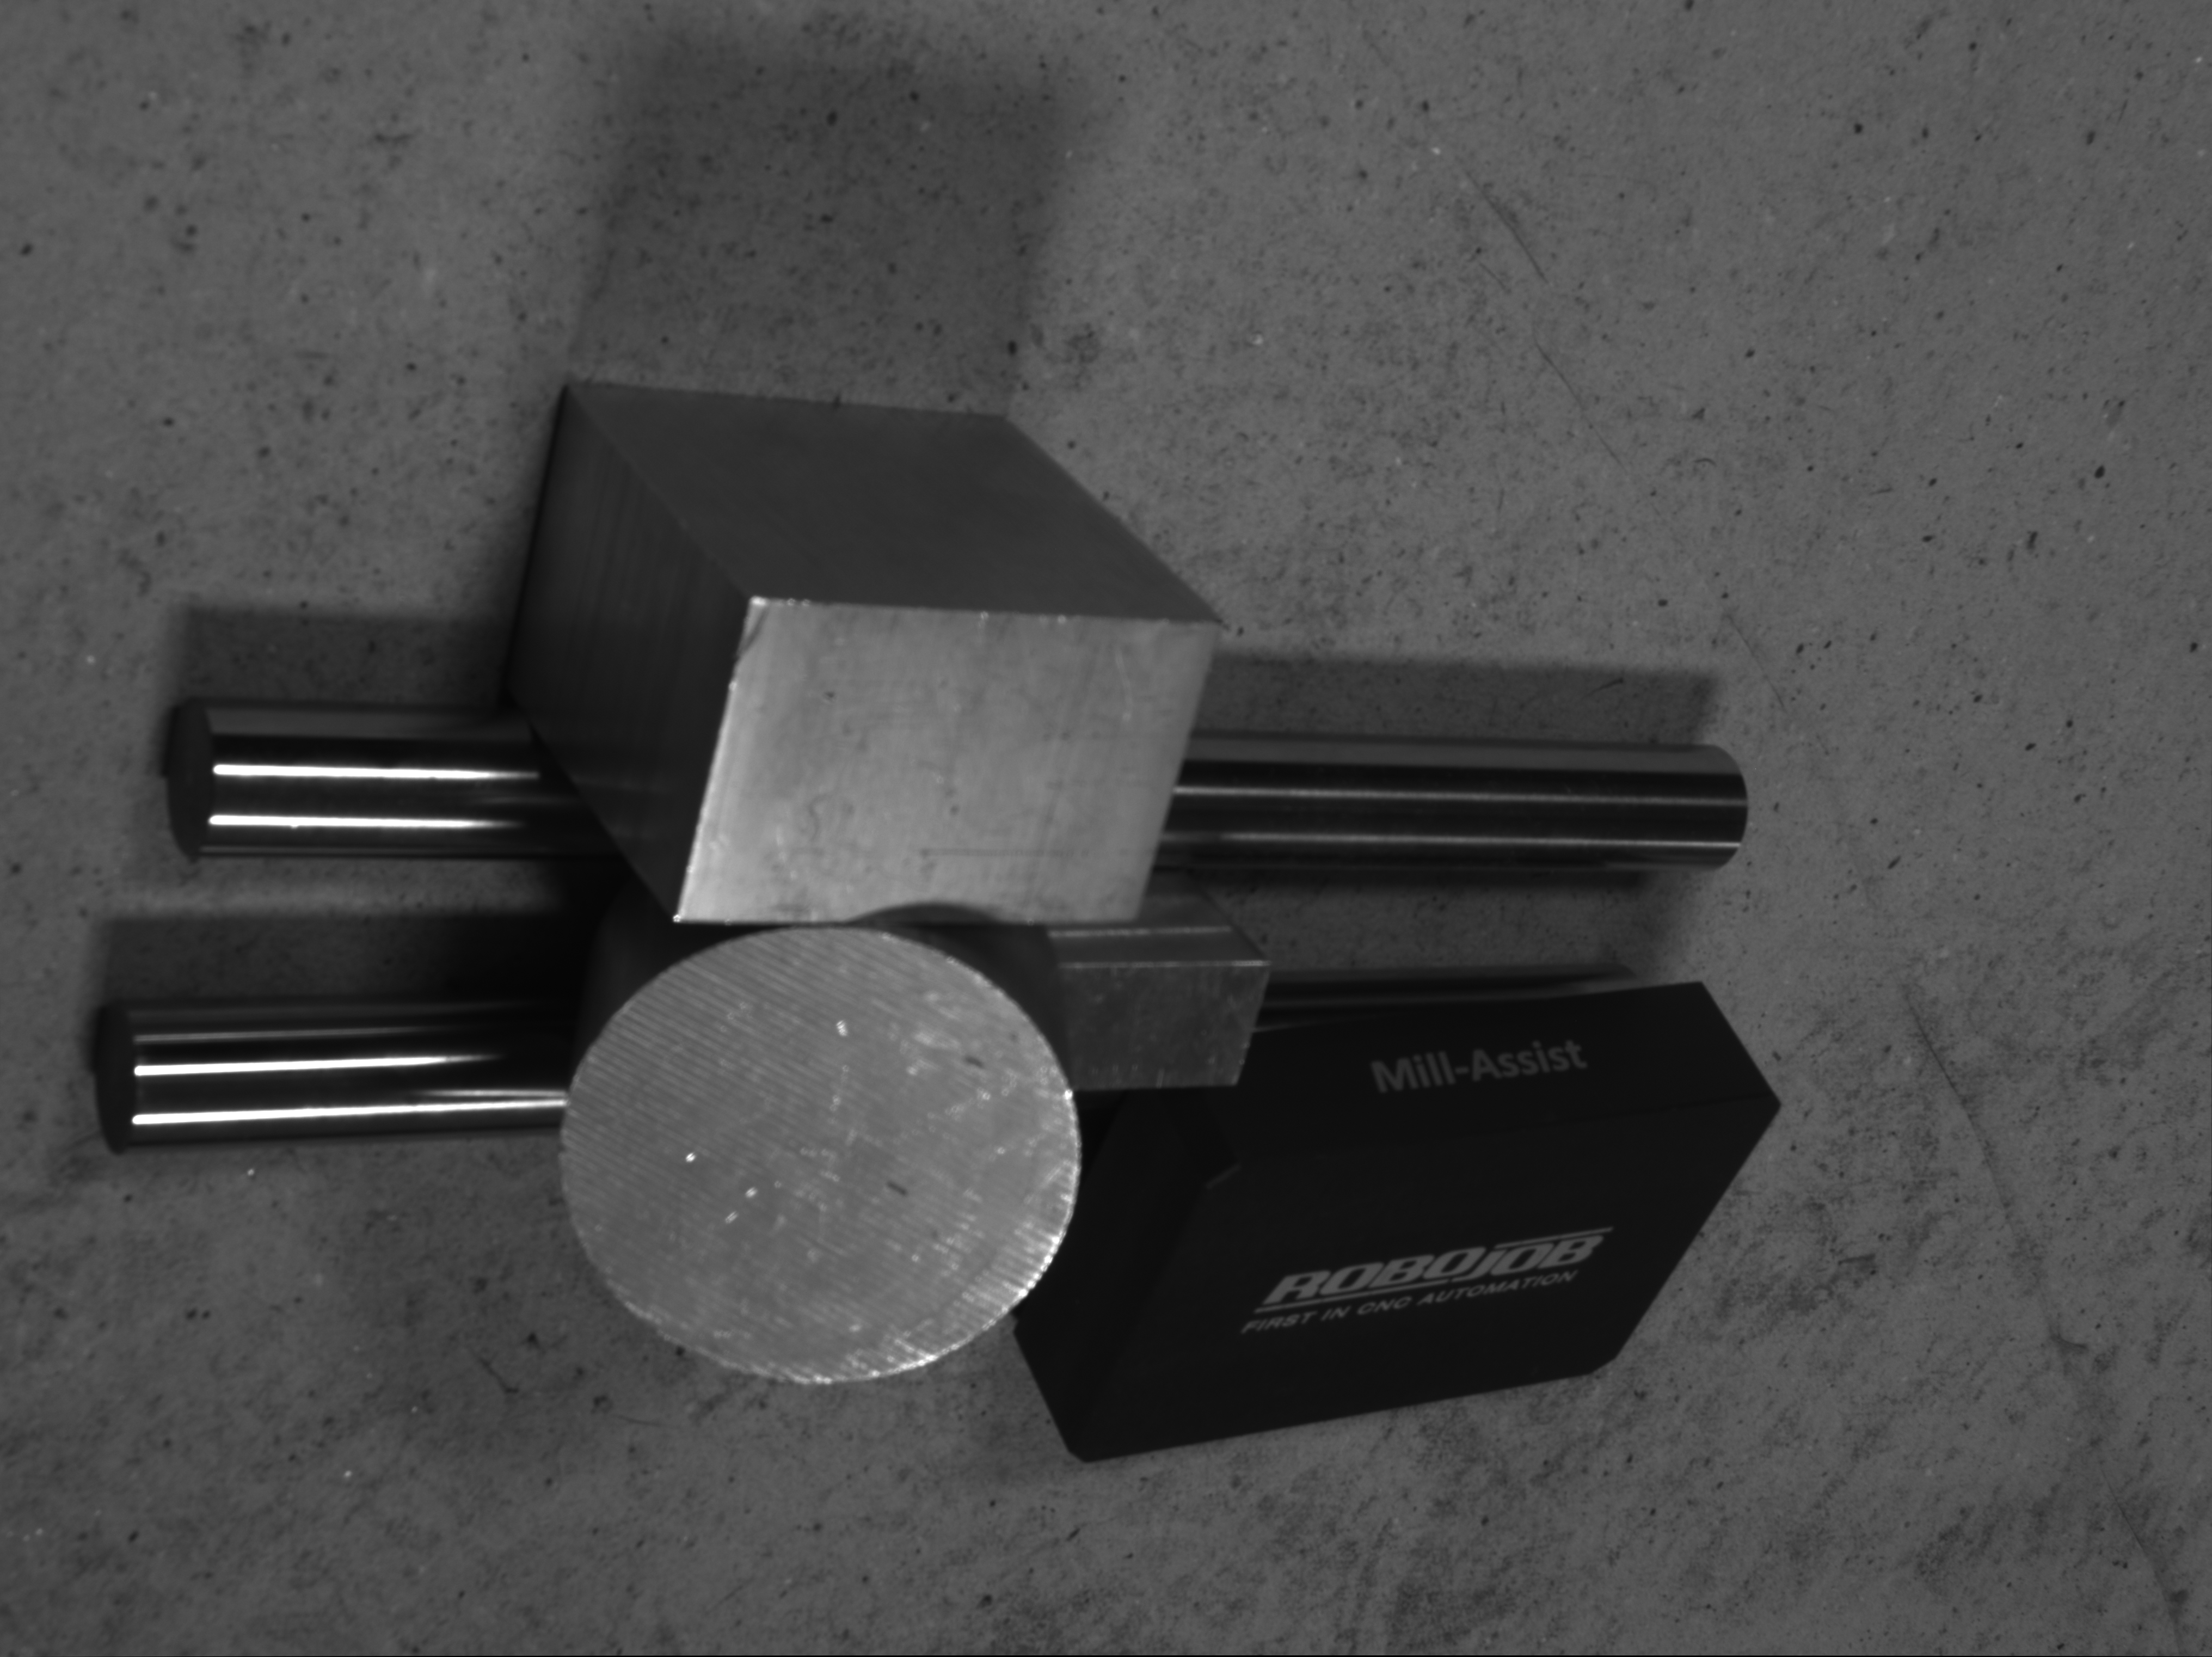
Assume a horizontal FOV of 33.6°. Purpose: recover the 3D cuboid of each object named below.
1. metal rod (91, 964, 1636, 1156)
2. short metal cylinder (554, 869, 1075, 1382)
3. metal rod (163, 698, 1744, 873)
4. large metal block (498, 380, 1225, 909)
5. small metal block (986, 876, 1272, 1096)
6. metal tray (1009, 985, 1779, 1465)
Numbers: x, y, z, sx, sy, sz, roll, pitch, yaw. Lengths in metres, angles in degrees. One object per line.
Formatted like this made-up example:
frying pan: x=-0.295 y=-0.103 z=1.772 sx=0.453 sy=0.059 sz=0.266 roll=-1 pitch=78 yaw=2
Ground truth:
metal rod: x=-0.029 y=0.040 z=0.659 sx=0.301 sy=0.025 sz=0.025 roll=0 pitch=118 yaw=-30
short metal cylinder: x=-0.046 y=0.041 z=0.587 sx=0.080 sy=0.050 sz=0.080 roll=-1 pitch=114 yaw=-3
metal rod: x=-0.012 y=-0.006 z=0.641 sx=0.301 sy=0.025 sz=0.025 roll=1 pitch=118 yaw=-31
large metal block: x=-0.040 y=-0.029 z=0.574 sx=0.080 sy=0.080 sz=0.050 roll=1 pitch=118 yaw=-31
small metal block: x=-0.007 y=0.023 z=0.644 sx=0.050 sy=0.050 sz=0.025 roll=1 pitch=118 yaw=-31
metal tray: x=0.056 y=0.076 z=0.709 sx=0.130 sy=0.030 sz=0.090 roll=-4 pitch=138 yaw=-29
